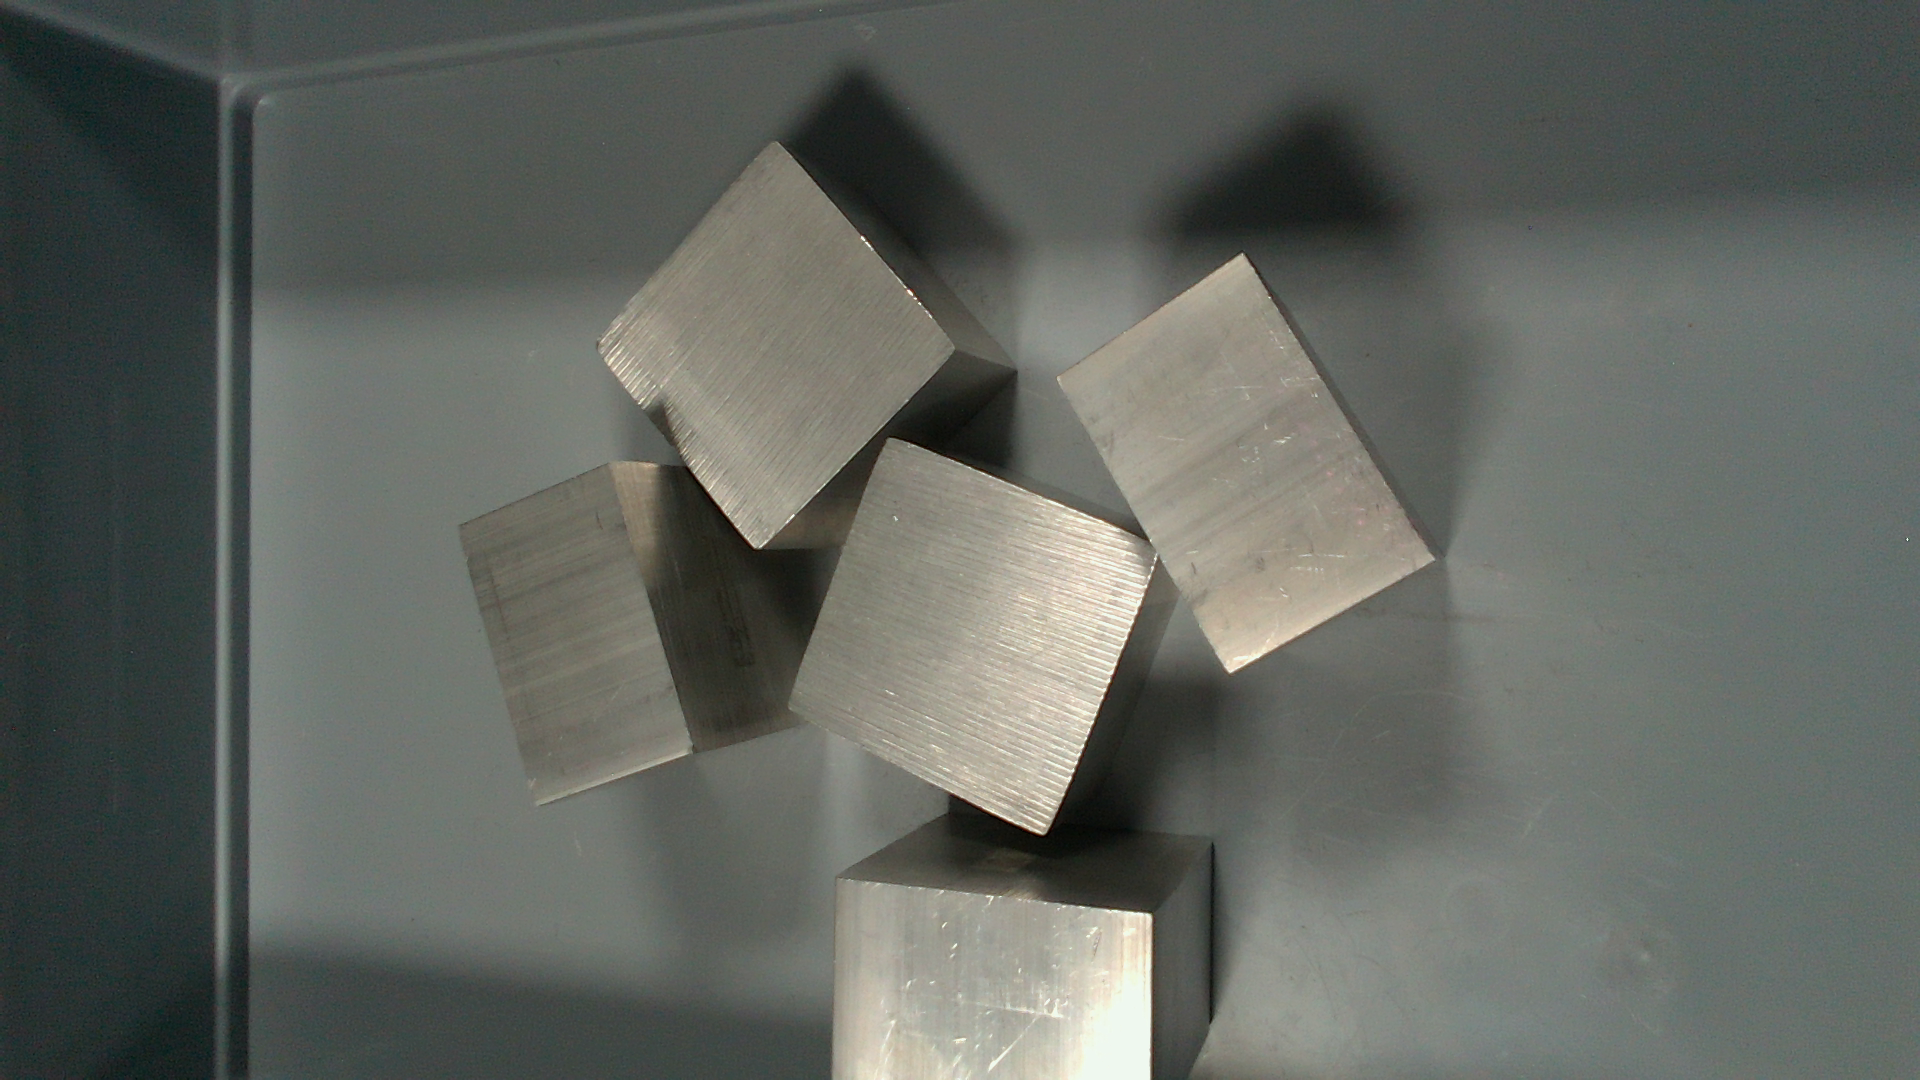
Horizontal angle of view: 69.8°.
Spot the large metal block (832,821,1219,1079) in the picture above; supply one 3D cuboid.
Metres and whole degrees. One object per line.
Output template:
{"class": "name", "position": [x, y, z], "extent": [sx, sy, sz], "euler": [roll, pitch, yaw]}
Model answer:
{"class": "large metal block", "position": [0.020, 0.108, 0.359], "extent": [0.080, 0.080, 0.050], "euler": [1, 90, 20]}

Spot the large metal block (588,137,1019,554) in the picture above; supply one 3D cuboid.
{"class": "large metal block", "position": [-0.044, -0.053, 0.397], "extent": [0.080, 0.050, 0.080], "euler": [-44, 76, 15]}

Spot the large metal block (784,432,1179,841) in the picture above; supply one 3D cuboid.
{"class": "large metal block", "position": [0.010, 0.024, 0.378], "extent": [0.080, 0.050, 0.080], "euler": [24, 98, 18]}

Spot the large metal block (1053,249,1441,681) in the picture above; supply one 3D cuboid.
{"class": "large metal block", "position": [0.075, -0.016, 0.338], "extent": [0.050, 0.080, 0.080], "euler": [-33, 79, 17]}

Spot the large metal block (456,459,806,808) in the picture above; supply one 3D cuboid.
{"class": "large metal block", "position": [-0.088, 0.025, 0.398], "extent": [0.050, 0.080, 0.080], "euler": [-20, 83, 19]}
